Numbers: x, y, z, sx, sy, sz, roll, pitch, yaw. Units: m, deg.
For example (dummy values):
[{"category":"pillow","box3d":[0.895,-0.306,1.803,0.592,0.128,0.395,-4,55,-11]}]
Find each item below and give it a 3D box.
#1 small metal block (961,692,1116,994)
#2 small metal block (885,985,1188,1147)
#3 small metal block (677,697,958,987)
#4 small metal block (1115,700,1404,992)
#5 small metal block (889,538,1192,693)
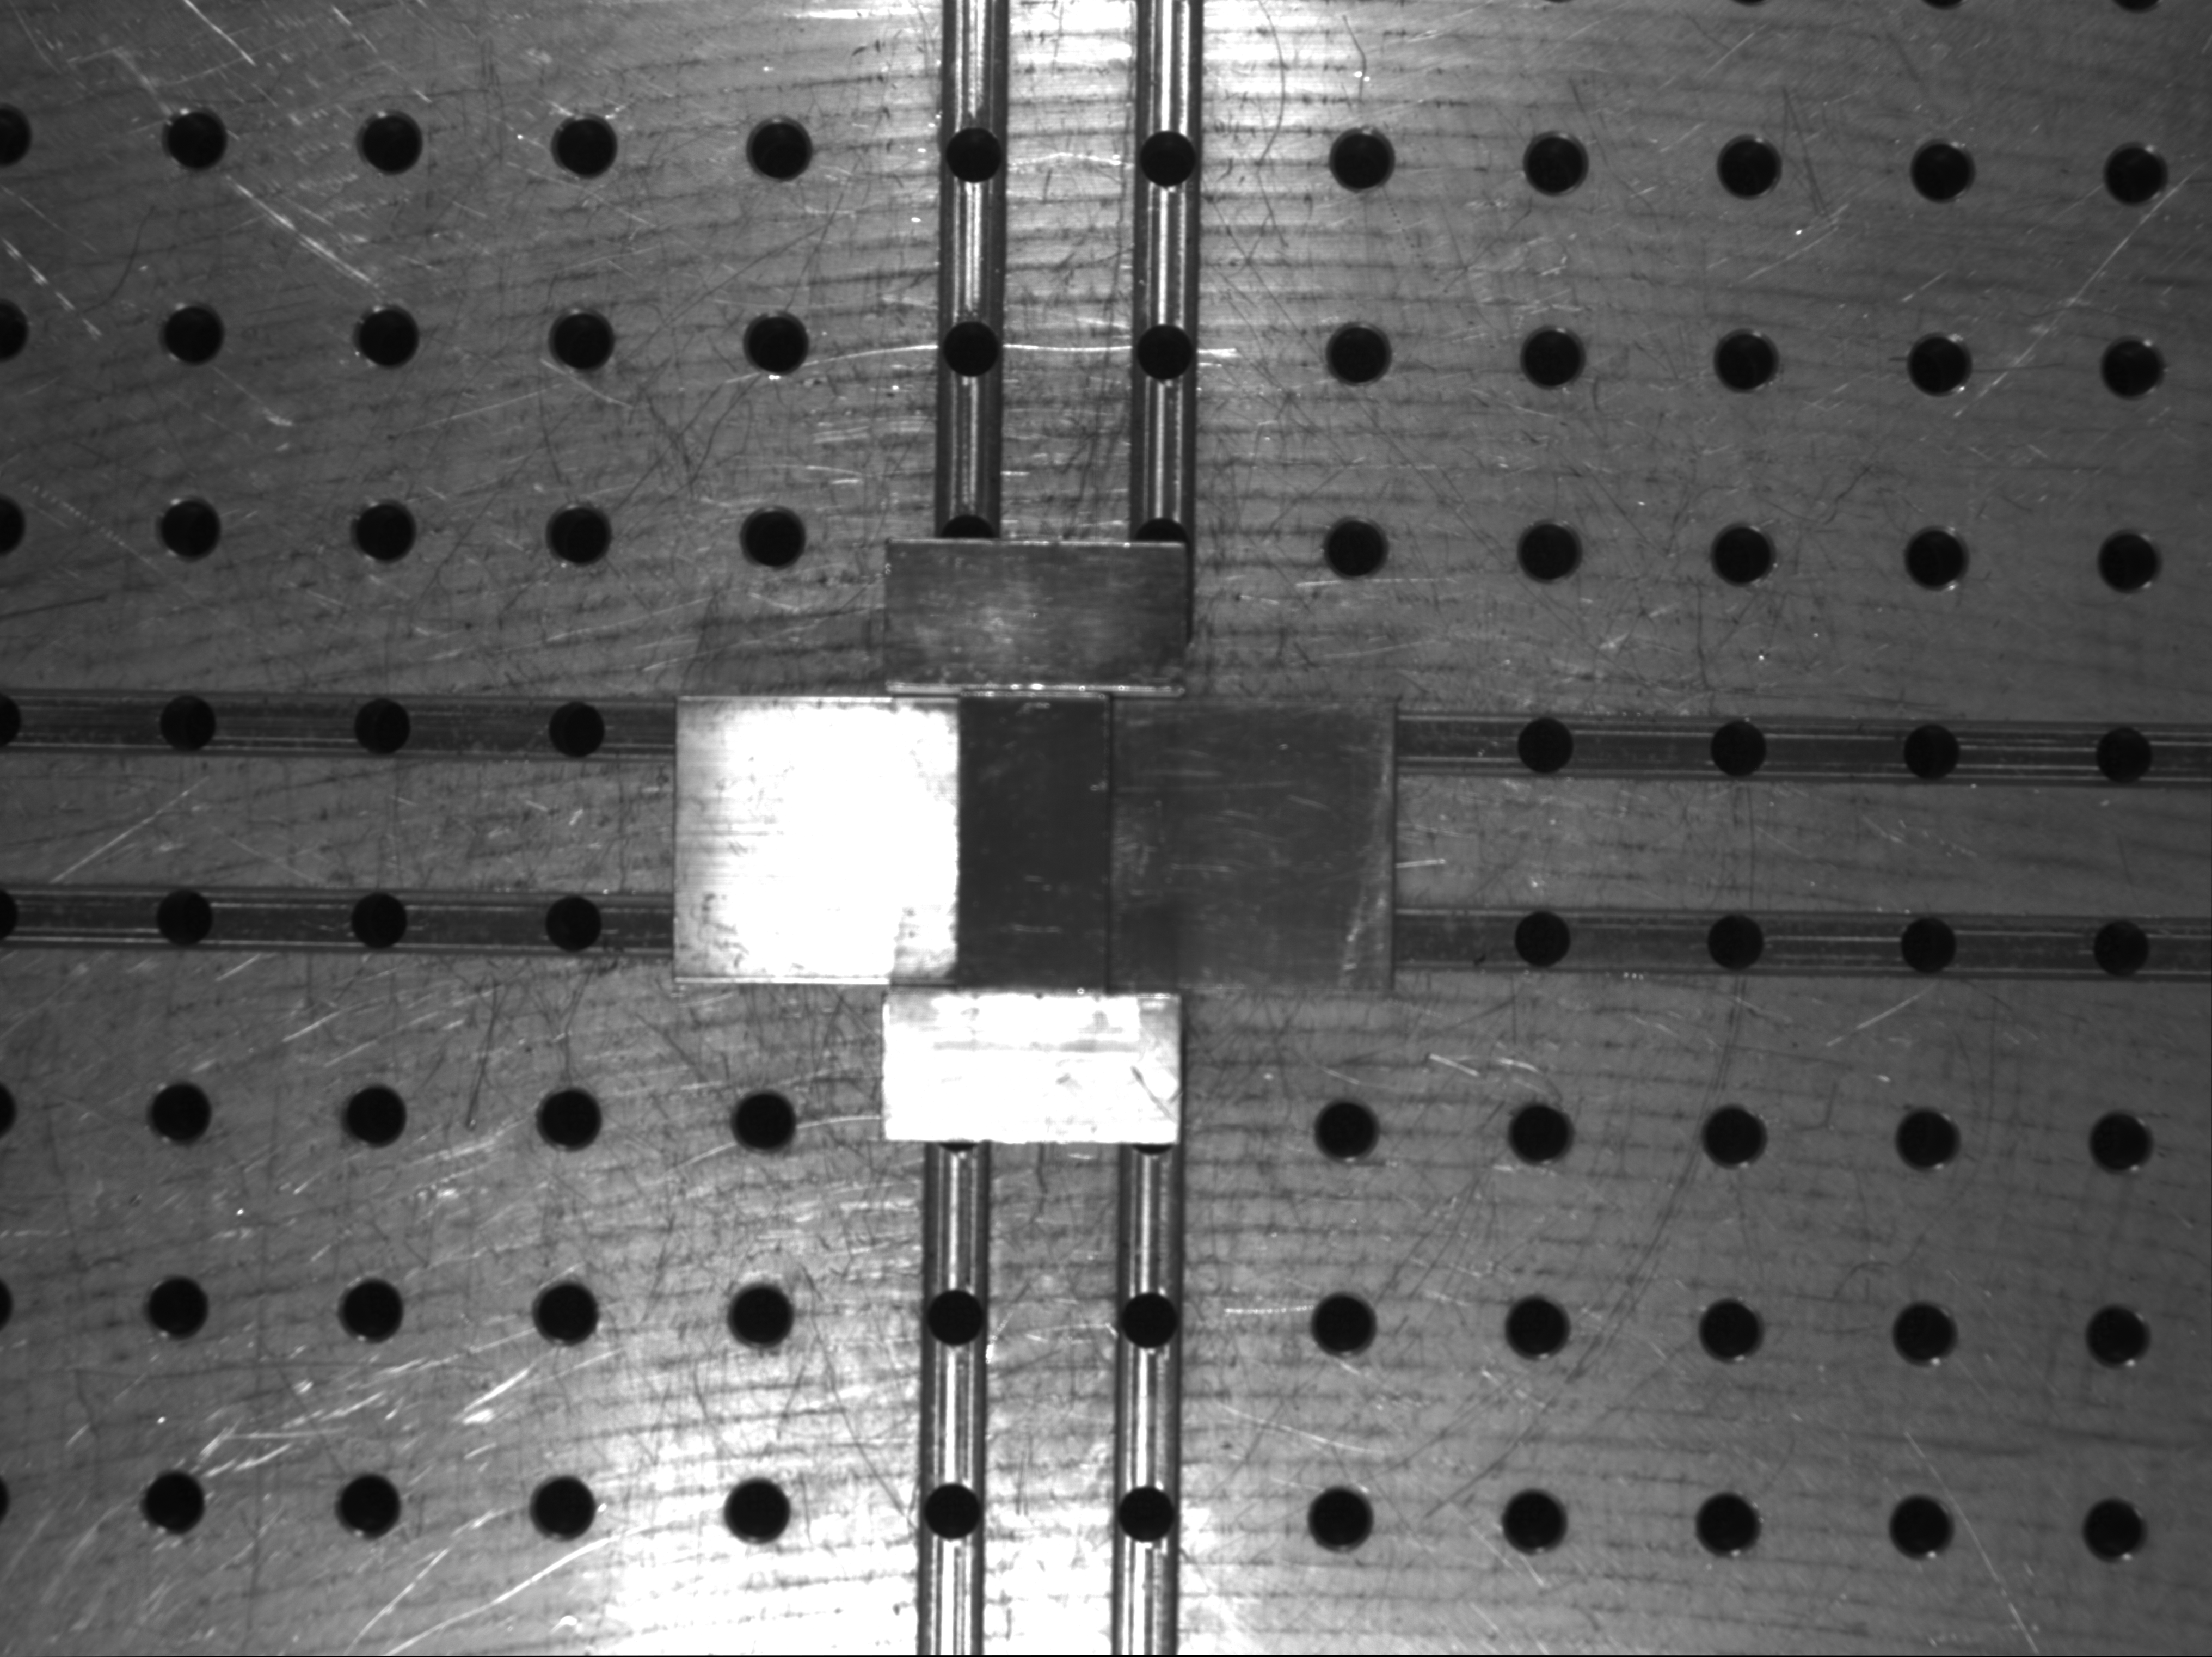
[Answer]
[{"category":"small metal block","box3d":[-0.011,0.002,0.634,0.025,0.050,0.050,1,90,0]},{"category":"small metal block","box3d":[-0.012,0.040,0.634,0.050,0.050,0.025,1,90,0]},{"category":"small metal block","box3d":[-0.049,0.002,0.647,0.050,0.025,0.050,1,90,0]},{"category":"small metal block","box3d":[0.026,0.003,0.647,0.050,0.025,0.050,1,90,0]},{"category":"small metal block","box3d":[-0.011,-0.035,0.635,0.050,0.050,0.025,1,90,0]}]
